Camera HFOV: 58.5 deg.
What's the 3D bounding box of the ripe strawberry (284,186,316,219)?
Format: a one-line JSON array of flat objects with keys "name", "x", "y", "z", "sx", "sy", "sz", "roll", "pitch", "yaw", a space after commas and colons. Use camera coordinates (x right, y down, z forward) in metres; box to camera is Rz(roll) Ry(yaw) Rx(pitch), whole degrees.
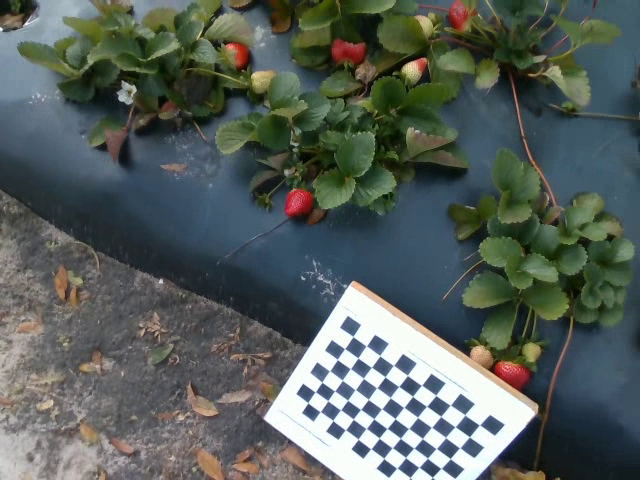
[{"name": "ripe strawberry", "x": -0.039, "y": -0.055, "z": 0.891, "sx": 0.050, "sy": 0.049, "sz": 0.053, "roll": 26, "pitch": 42, "yaw": 9}]
